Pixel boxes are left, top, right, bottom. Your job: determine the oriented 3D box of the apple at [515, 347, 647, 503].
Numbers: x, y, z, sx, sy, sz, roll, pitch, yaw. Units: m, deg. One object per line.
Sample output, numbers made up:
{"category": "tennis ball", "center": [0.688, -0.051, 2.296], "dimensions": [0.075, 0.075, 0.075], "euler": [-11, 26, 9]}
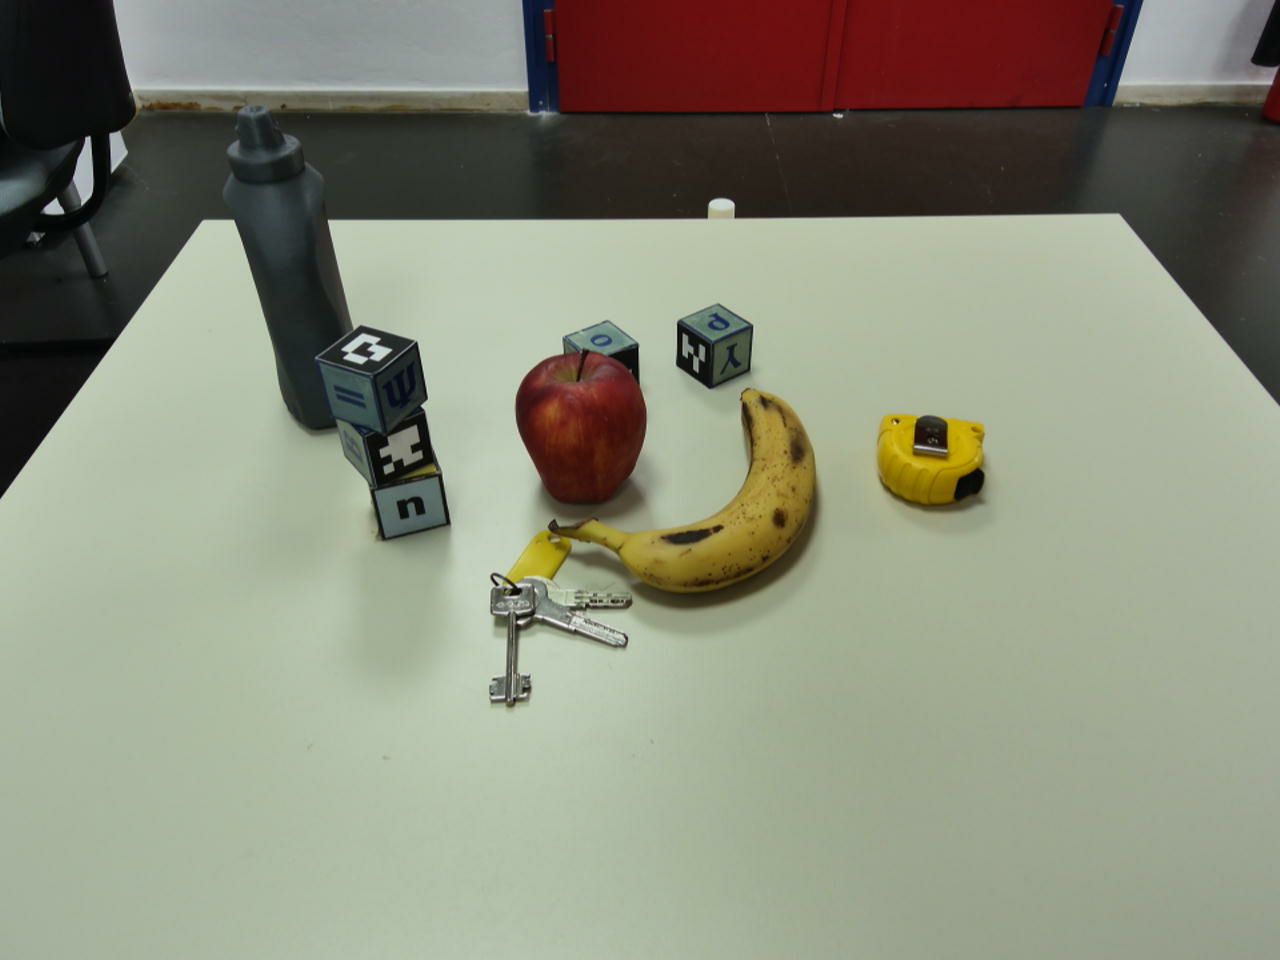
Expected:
{"category": "apple", "center": [-0.035, -0.036, 0.579], "dimensions": [0.083, 0.090, 0.083], "euler": [1, 39, -1]}
